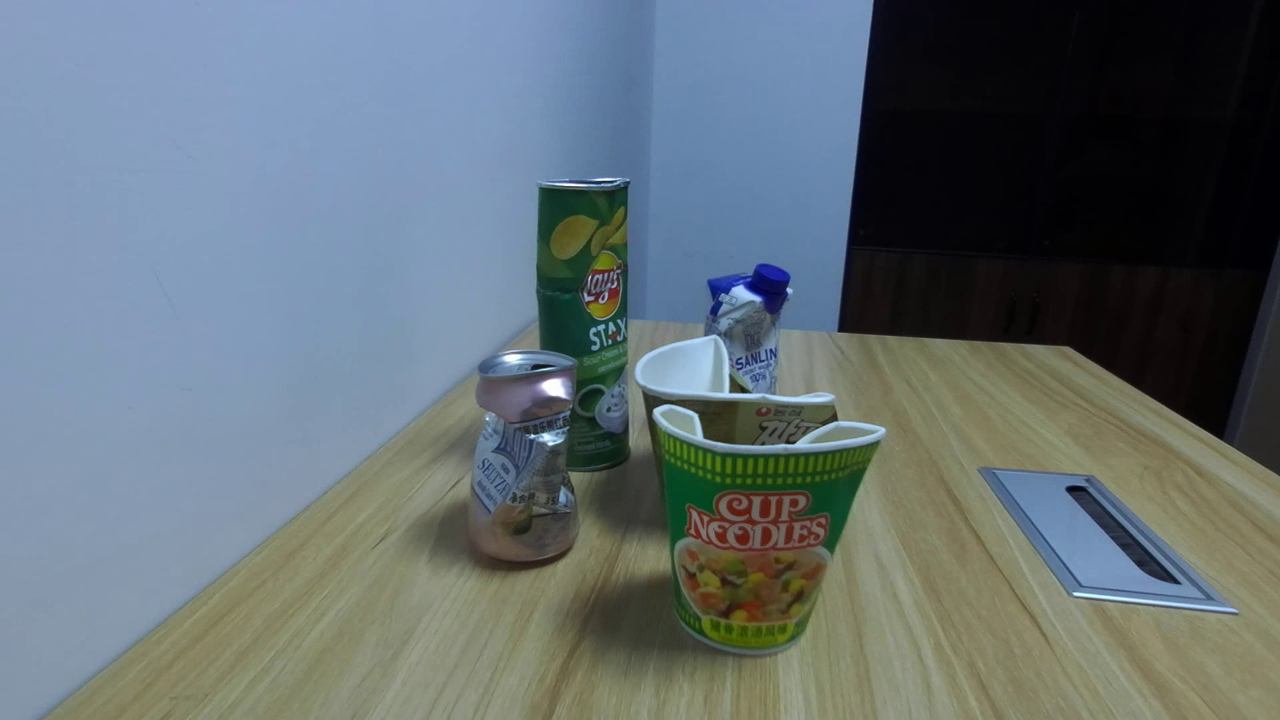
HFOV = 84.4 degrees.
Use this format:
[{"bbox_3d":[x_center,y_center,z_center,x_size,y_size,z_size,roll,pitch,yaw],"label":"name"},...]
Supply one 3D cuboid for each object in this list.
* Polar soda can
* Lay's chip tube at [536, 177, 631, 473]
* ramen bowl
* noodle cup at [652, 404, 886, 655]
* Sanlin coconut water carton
[{"bbox_3d":[-0.066,0.053,0.402,0.074,0.114,0.070,10,12,18],"label":"Polar soda can"},{"bbox_3d":[-0.038,-0.026,0.505,0.069,0.199,0.074,-2,16,-8],"label":"Lay's chip tube"},{"bbox_3d":[0.060,0.046,0.459,0.137,0.098,0.137,1,15,0],"label":"ramen bowl"},{"bbox_3d":[0.052,0.077,0.340,0.082,0.122,0.075,27,35,34],"label":"noodle cup"},{"bbox_3d":[0.082,-0.007,0.560,0.057,0.142,0.078,22,25,38],"label":"Sanlin coconut water carton"}]
